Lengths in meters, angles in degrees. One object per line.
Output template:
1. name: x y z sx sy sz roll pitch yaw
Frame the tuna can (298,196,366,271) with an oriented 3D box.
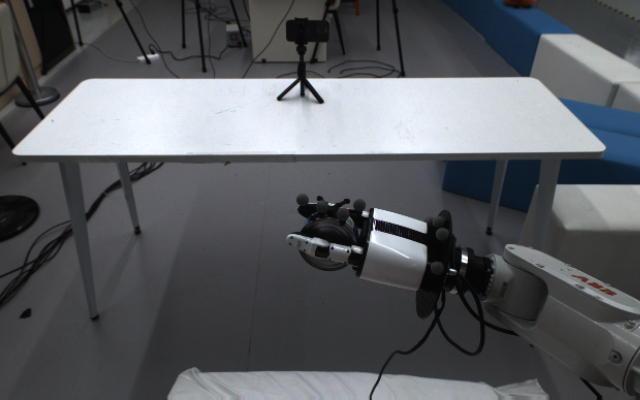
1. tuna can: 0.014 0.057 0.694 0.085 0.085 0.034 6 22 6
